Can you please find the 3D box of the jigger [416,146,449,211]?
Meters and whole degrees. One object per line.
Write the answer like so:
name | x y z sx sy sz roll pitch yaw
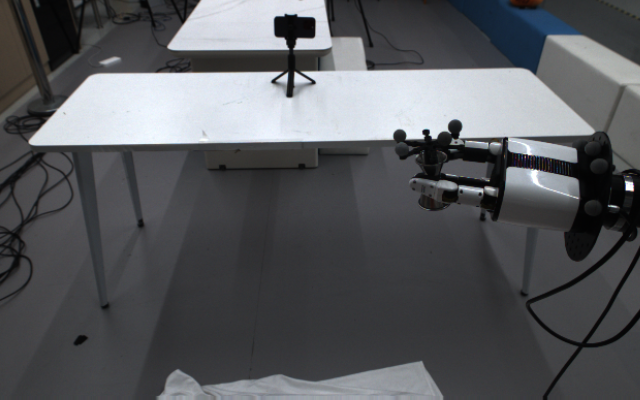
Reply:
jigger | 0.147 -0.027 0.633 0.043 0.071 0.043 -10 32 6
